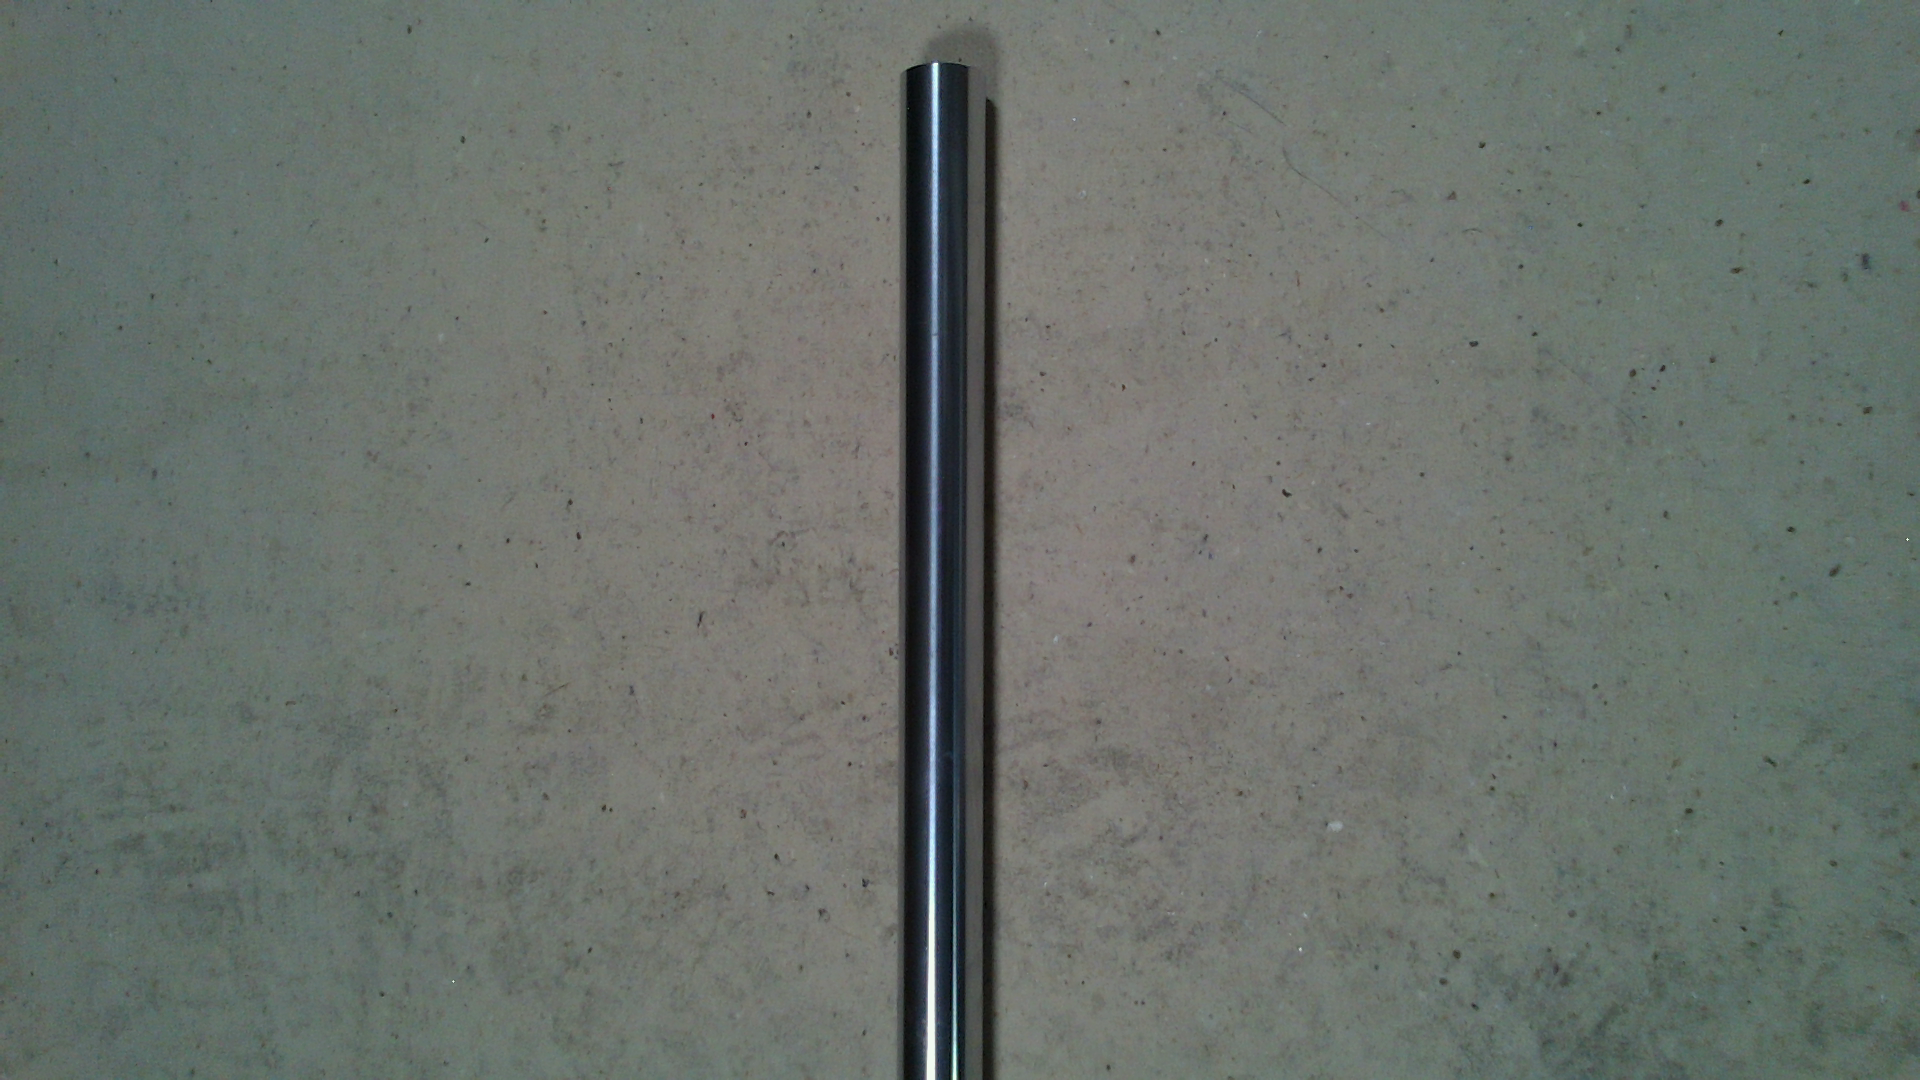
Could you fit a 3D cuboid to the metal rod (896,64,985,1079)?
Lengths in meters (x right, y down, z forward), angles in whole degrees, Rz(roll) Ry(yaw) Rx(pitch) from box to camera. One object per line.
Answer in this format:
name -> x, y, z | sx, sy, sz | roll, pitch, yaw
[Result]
metal rod -> -0.006, 0.017, 0.398 | 0.025, 0.025, 0.300 | 0, 90, 20
